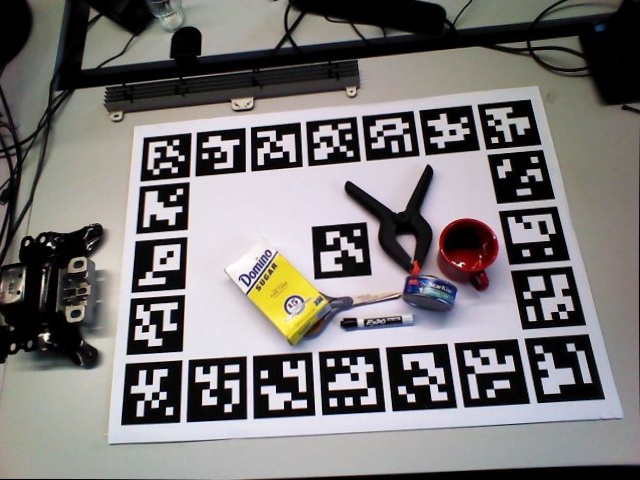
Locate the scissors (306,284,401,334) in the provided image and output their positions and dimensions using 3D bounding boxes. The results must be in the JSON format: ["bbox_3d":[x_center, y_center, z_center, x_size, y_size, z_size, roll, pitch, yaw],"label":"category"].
[{"bbox_3d":[0.040,0.100,0.880,0.203,0.016,0.087,-14,65,-1],"label":"scissors"}]

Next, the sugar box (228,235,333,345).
[{"bbox_3d":[-0.069,0.081,0.881,0.092,0.045,0.176,-39,65,-9],"label":"sugar box"}]

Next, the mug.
[{"bbox_3d":[0.242,0.032,0.858,0.093,0.081,0.117,-30,66,-6],"label":"mug"}]

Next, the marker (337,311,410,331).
[{"bbox_3d":[0.088,0.136,0.865,0.121,0.020,0.019,-8,70,3],"label":"marker"}]

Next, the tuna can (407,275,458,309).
[{"bbox_3d":[0.185,0.084,0.839,0.086,0.086,0.033,12,71,10],"label":"tuna can"}]

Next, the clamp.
[{"bbox_3d":[0.150,-0.036,0.924,0.166,0.037,0.202,-14,70,0],"label":"clamp"}]
